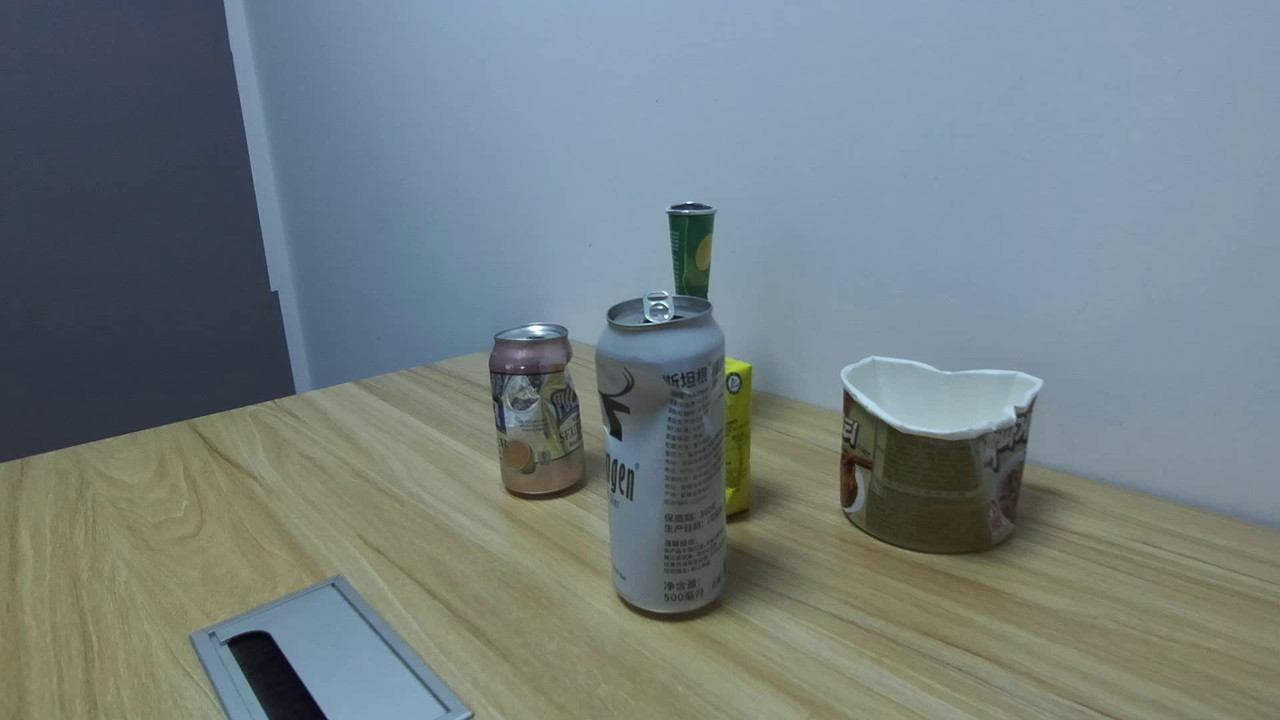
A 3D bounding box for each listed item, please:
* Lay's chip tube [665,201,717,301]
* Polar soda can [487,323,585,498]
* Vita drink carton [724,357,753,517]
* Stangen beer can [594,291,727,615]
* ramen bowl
[{"bbox_3d":[0.044,-0.034,0.617,0.069,0.199,0.074,-15,22,-35],"label":"Lay's chip tube"},{"bbox_3d":[-0.078,0.039,0.539,0.074,0.122,0.067,-11,13,-34],"label":"Polar soda can"},{"bbox_3d":[0.043,0.052,0.489,0.043,0.109,0.076,-15,22,-34],"label":"Vita drink carton"},{"bbox_3d":[0.012,0.051,0.382,0.069,0.173,0.070,0,17,9],"label":"Stangen beer can"},{"bbox_3d":[0.187,0.061,0.461,0.113,0.097,0.134,9,19,31],"label":"ramen bowl"}]
